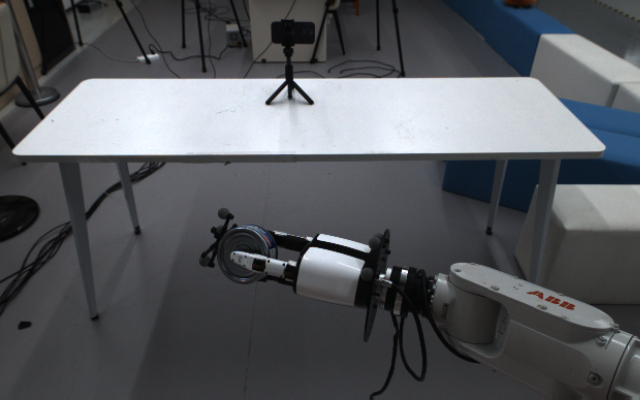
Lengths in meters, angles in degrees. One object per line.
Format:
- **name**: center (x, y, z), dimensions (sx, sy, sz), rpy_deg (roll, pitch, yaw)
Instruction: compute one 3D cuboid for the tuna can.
- **tuna can**: center (-0.106, 0.079, 0.715), dimensions (0.085, 0.085, 0.034), rpy_deg (12, 5, 14)
